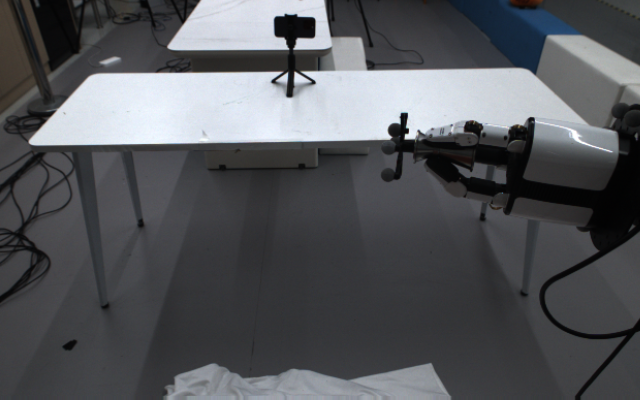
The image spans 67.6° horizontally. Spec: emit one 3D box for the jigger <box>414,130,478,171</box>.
[{"bbox_3d":[0.153,-0.064,0.568,0.071,0.043,0.043,8,35,14],"label":"jigger"}]
